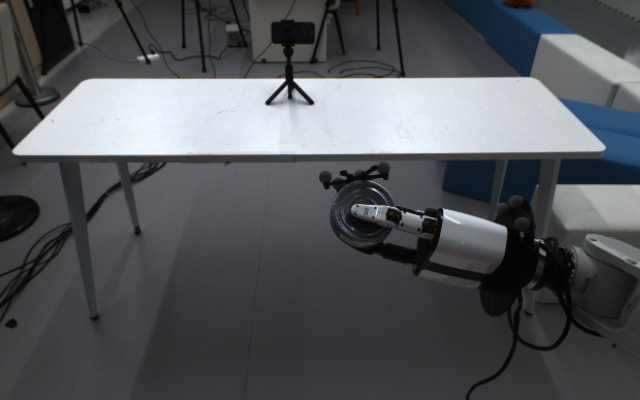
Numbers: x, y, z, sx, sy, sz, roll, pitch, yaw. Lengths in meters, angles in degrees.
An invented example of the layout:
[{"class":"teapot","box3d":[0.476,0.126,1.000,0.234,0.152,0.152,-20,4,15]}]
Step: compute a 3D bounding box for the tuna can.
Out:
[{"class":"tuna can","box3d":[0.061,0.024,0.631,0.085,0.034,0.085,0,72,-1]}]
